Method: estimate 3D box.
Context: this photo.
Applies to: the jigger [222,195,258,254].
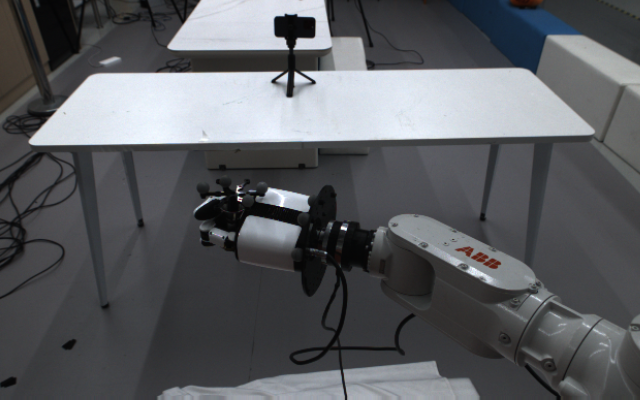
[{"bbox_3d":[-0.122,0.034,0.711,0.043,0.071,0.043,4,31,-2],"label":"jigger"}]
